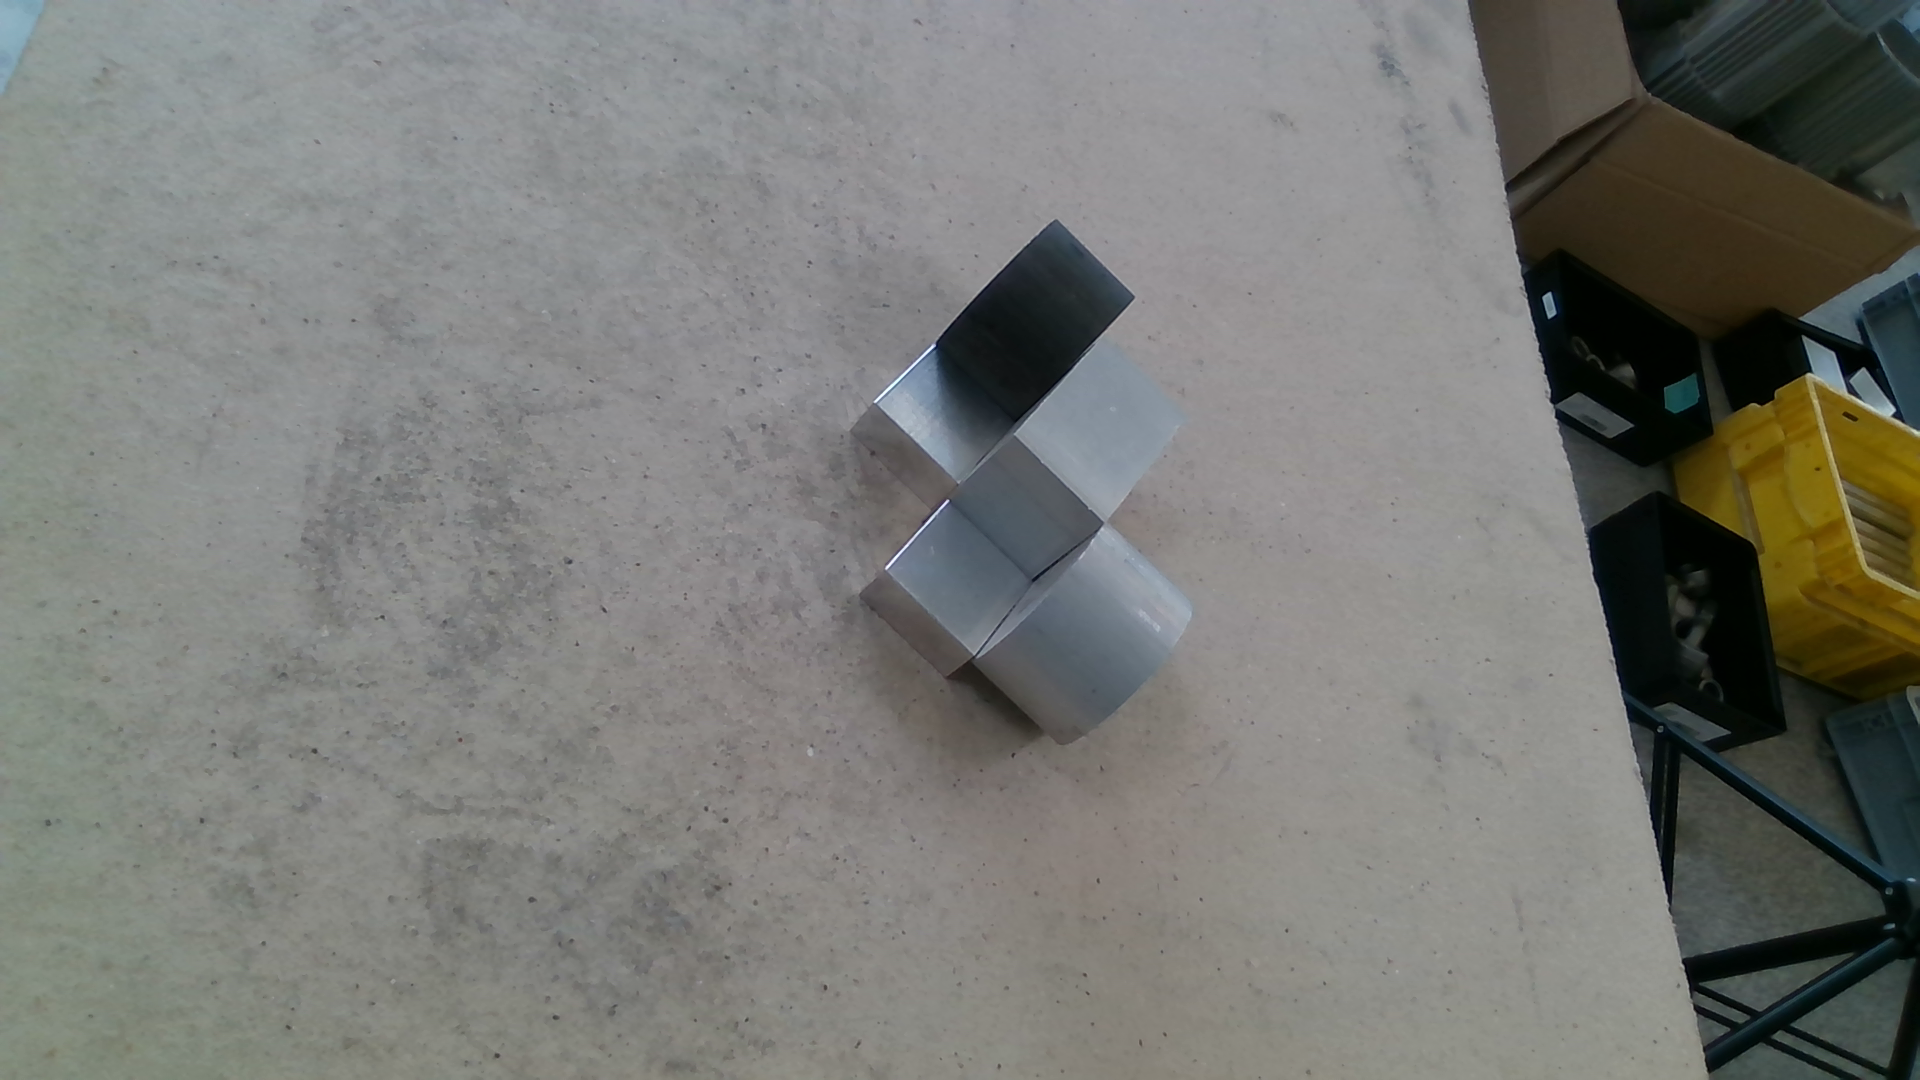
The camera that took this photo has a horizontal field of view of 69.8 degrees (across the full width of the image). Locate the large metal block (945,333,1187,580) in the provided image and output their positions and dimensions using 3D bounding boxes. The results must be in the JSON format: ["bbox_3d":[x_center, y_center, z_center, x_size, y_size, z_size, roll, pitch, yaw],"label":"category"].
[{"bbox_3d":[0.040,-0.030,0.593,0.050,0.080,0.080,44,51,-4],"label":"large metal block"}]

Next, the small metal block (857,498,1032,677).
[{"bbox_3d":[-0.006,0.020,0.573,0.050,0.025,0.050,44,51,-4],"label":"small metal block"}]

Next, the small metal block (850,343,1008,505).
[{"bbox_3d":[-0.012,-0.051,0.607,0.050,0.025,0.050,44,51,-4],"label":"small metal block"}]

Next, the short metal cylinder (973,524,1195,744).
[{"bbox_3d":[0.049,0.037,0.562,0.050,0.080,0.080,44,51,-4],"label":"short metal cylinder"}]

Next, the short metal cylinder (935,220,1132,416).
[{"bbox_3d":[0.033,-0.098,0.624,0.050,0.080,0.080,44,51,-4],"label":"short metal cylinder"}]
